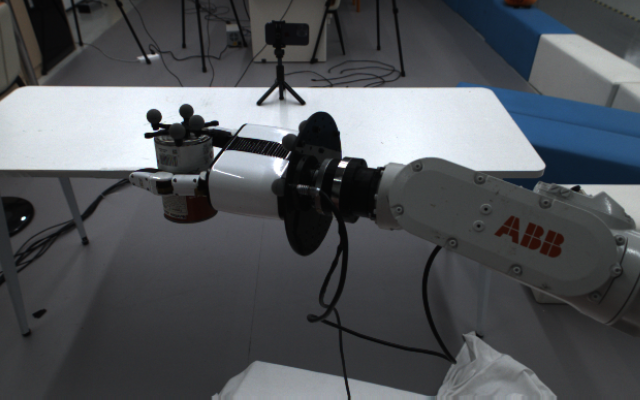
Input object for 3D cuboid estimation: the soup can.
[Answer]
[{"bbox_3d":[-0.159,-0.030,0.584,0.067,0.101,0.067,1,25,0],"label":"soup can"}]
